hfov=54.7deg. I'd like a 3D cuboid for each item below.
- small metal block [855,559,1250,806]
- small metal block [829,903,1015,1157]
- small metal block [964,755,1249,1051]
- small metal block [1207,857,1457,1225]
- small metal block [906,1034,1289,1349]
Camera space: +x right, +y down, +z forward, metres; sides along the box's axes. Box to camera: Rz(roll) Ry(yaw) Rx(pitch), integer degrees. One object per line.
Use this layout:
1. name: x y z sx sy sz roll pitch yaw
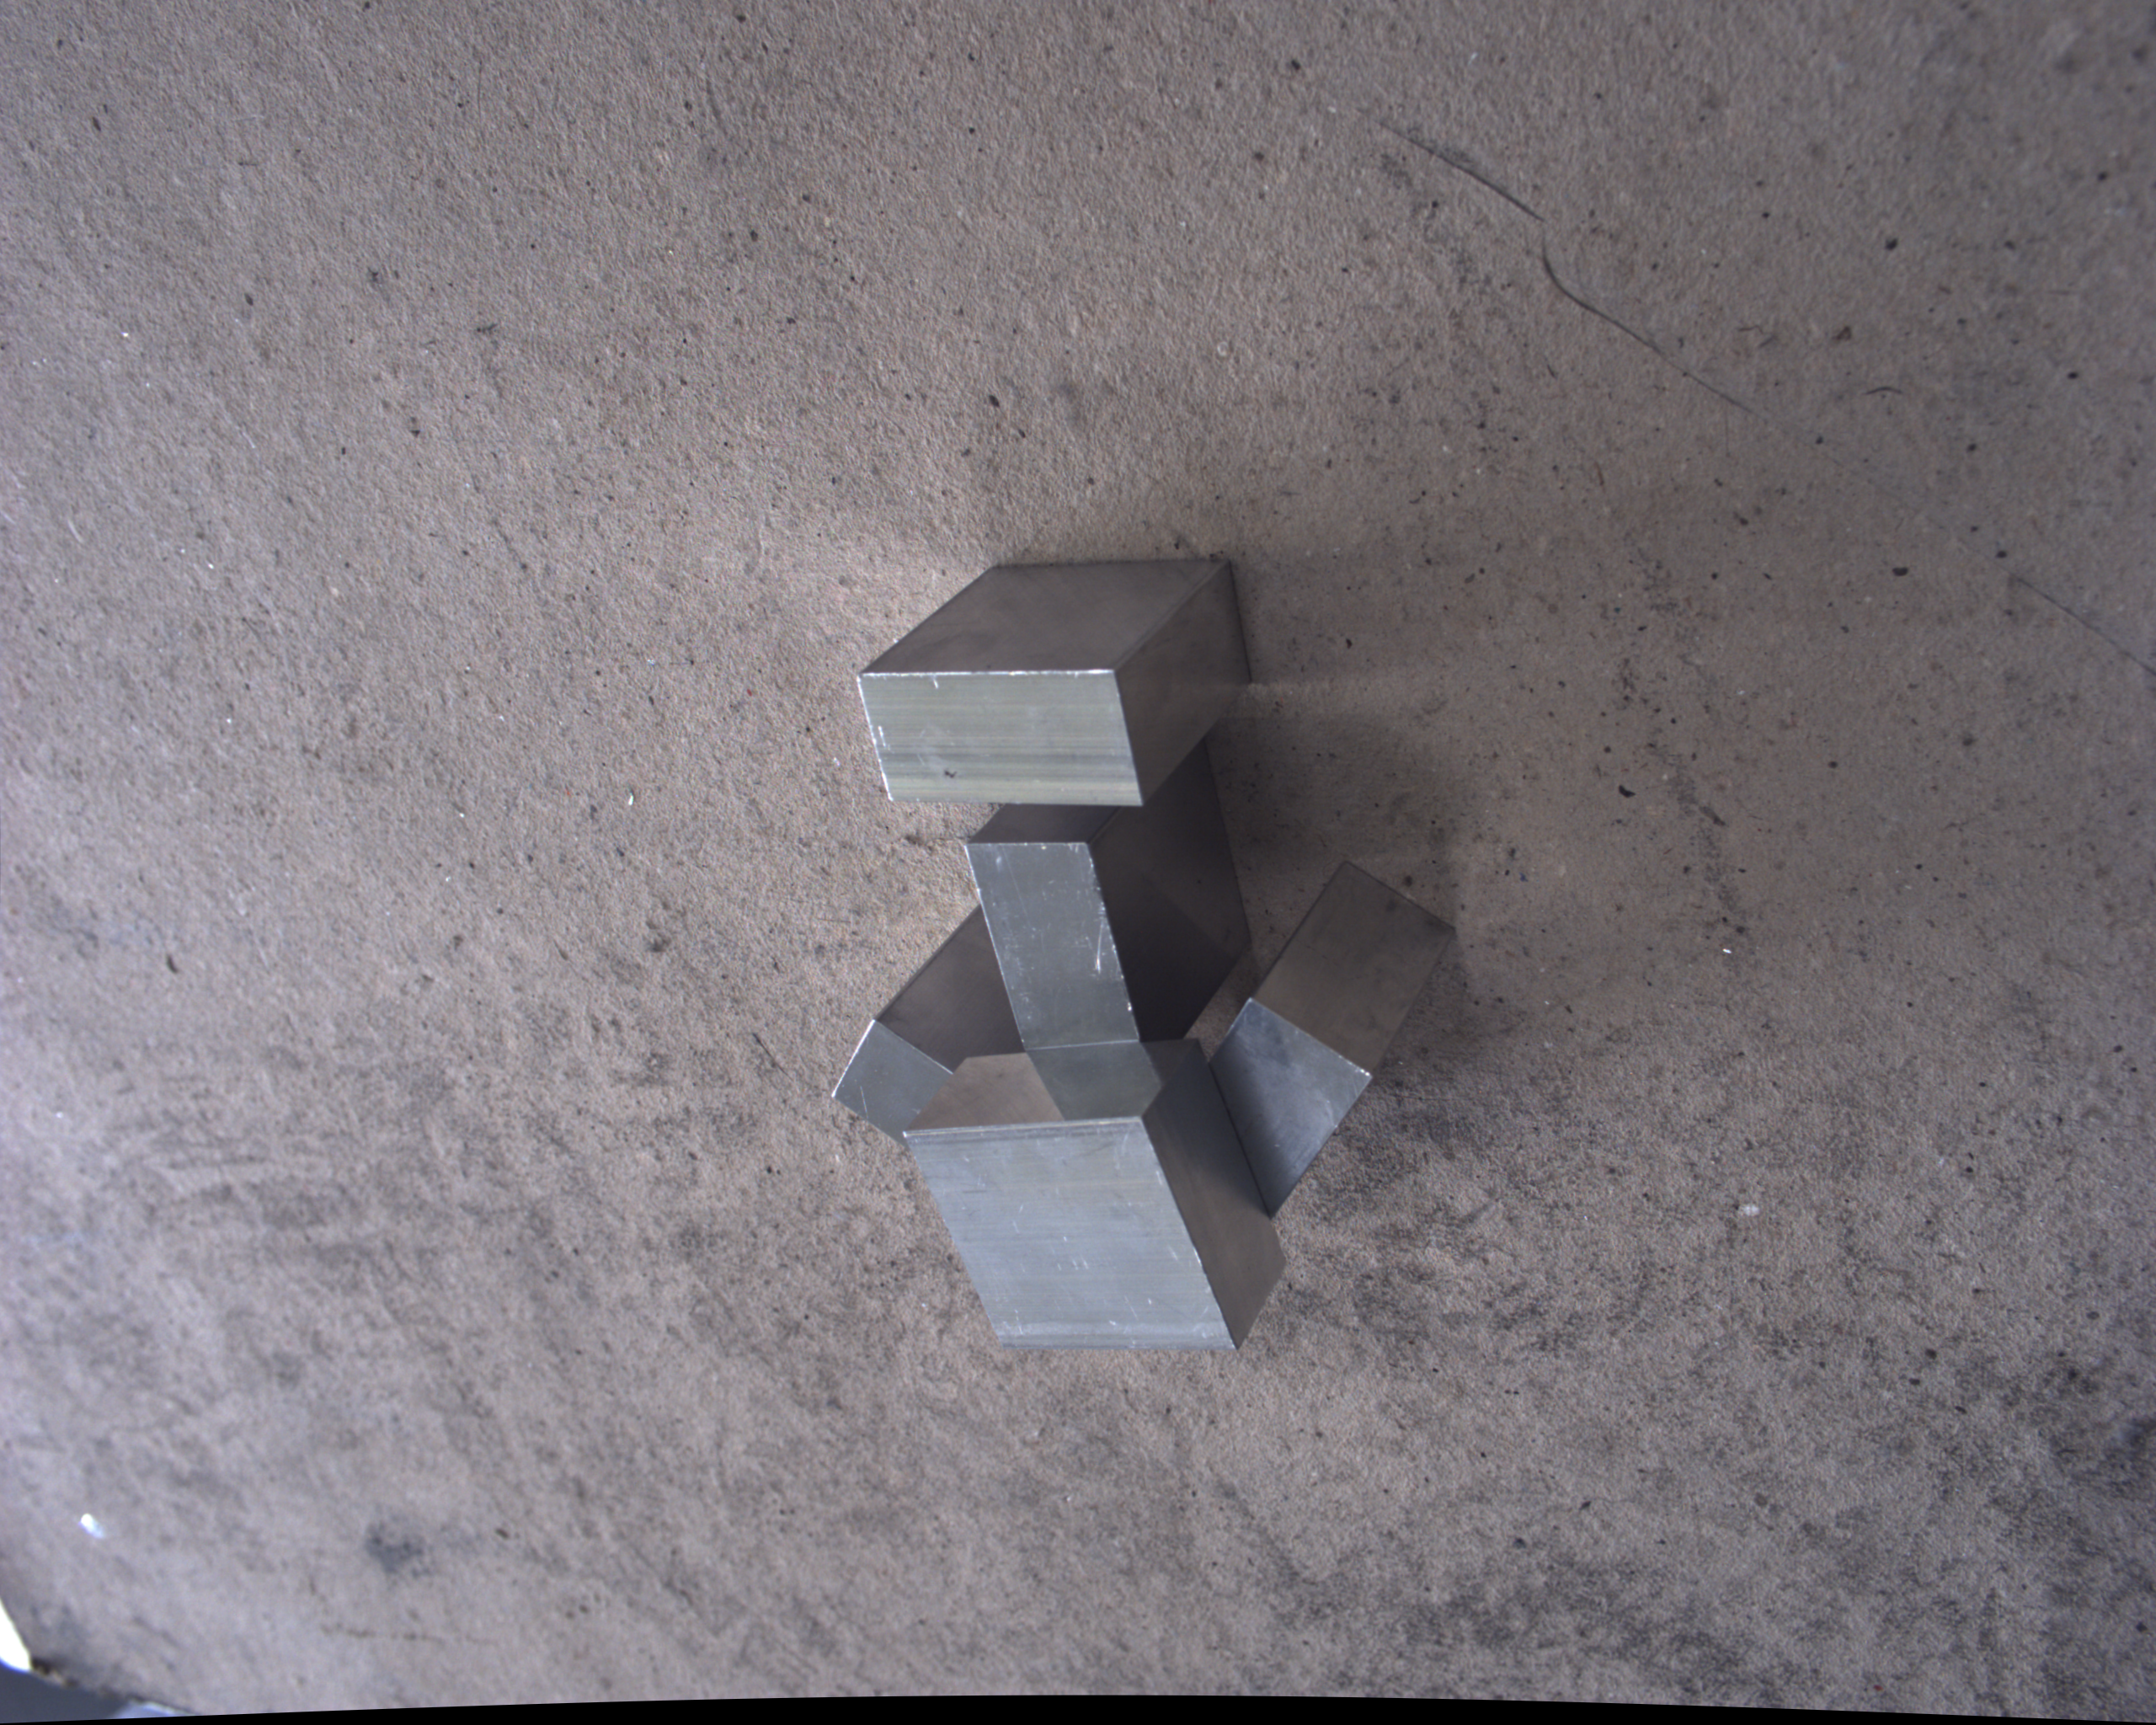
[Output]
1. small metal block: -0.003 -0.033 0.373 0.050 0.050 0.025 2 119 27
2. small metal block: -0.014 0.041 0.424 0.050 0.050 0.025 34 128 4
3. small metal block: 0.007 0.006 0.393 0.025 0.050 0.050 -1 117 28
4. small metal block: 0.042 0.035 0.392 0.025 0.050 0.050 33 129 7
5. small metal block: 0.004 0.061 0.380 0.050 0.025 0.050 -8 114 32
